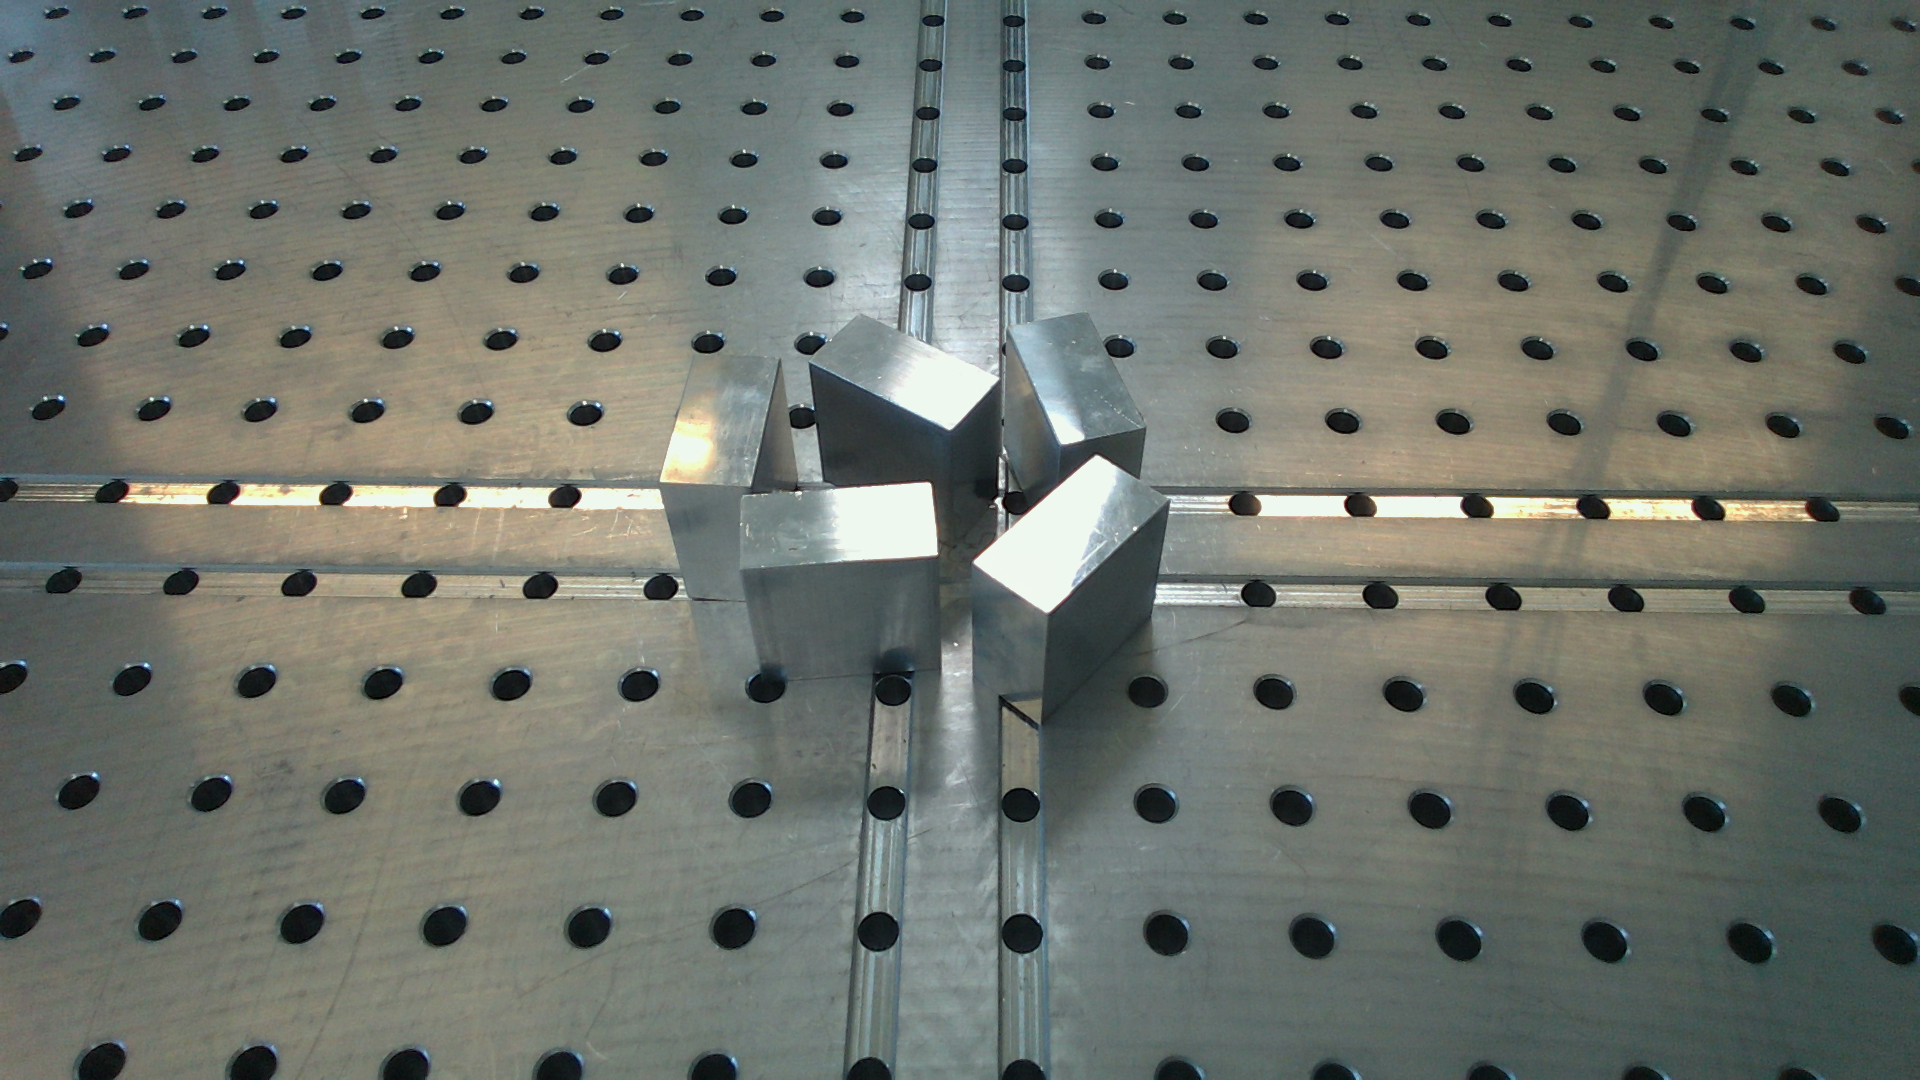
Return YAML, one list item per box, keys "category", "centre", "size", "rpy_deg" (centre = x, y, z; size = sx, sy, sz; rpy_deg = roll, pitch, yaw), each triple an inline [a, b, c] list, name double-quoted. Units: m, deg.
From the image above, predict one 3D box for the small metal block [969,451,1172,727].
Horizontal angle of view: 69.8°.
- category: "small metal block"
  centre: [0.029, 0.013, 0.366]
  size: [0.025, 0.050, 0.050]
  rpy_deg: [34, 58, 27]

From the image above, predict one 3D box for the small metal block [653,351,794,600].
- category: "small metal block"
  centre: [-0.066, -0.018, 0.393]
  size: [0.025, 0.050, 0.050]
  rpy_deg: [3, 50, 3]

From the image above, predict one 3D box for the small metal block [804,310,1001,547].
- category: "small metal block"
  centre: [-0.016, -0.032, 0.405]
  size: [0.050, 0.050, 0.025]
  rpy_deg: [27, 56, 21]

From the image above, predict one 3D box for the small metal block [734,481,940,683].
- category: "small metal block"
  centre: [-0.032, 0.012, 0.368]
  size: [0.050, 0.050, 0.025]
  rpy_deg: [-4, 50, -3]

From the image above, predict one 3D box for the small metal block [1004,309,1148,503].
- category: "small metal block"
  centre: [0.032, -0.030, 0.403]
  size: [0.025, 0.050, 0.050]
  rpy_deg: [-12, 50, -10]
